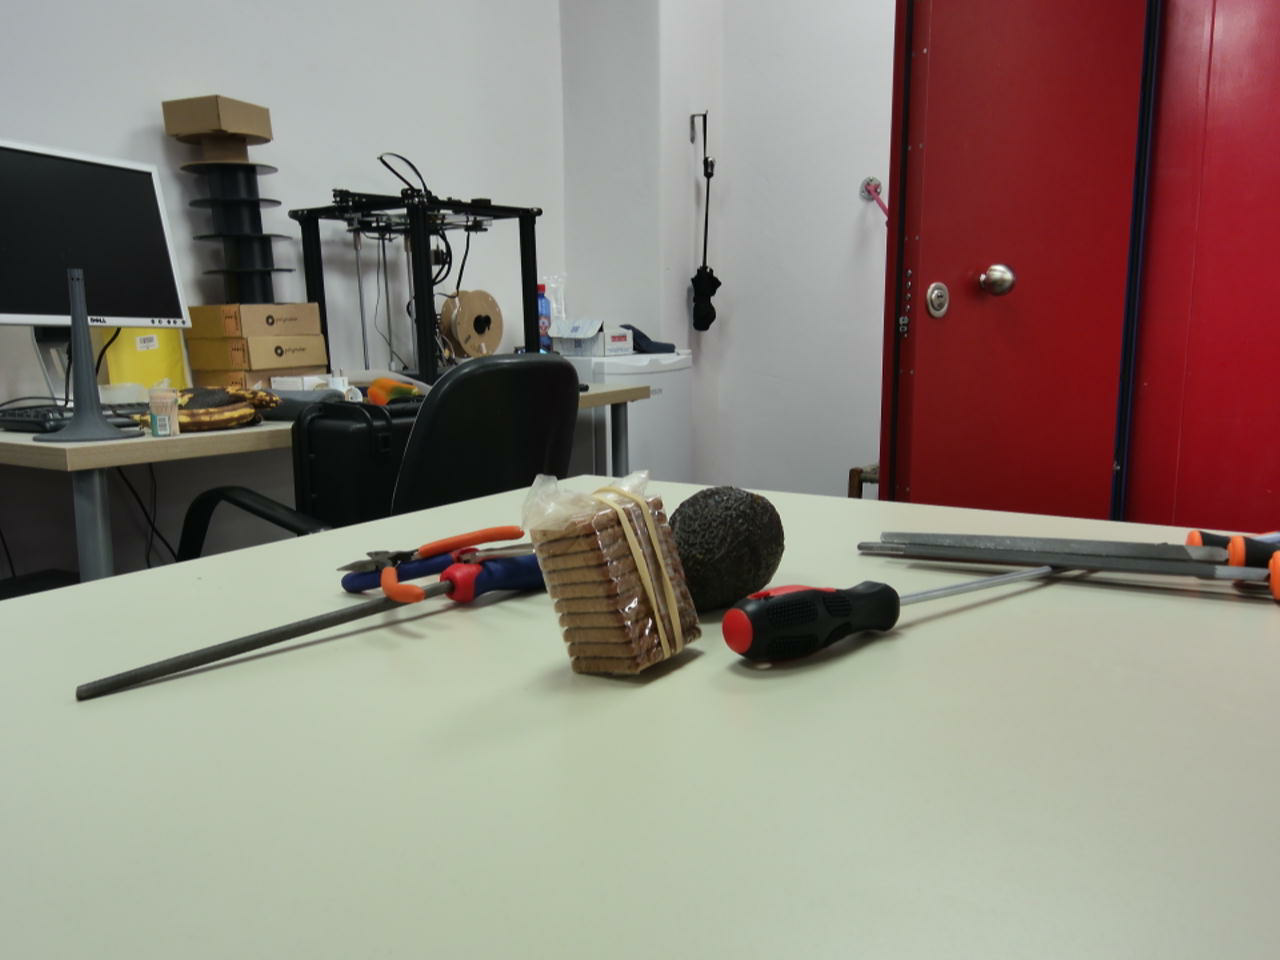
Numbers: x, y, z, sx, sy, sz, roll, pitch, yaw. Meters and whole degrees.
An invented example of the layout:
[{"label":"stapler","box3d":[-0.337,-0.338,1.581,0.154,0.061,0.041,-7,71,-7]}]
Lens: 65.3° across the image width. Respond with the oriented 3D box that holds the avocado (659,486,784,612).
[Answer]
[{"label":"avocado","box3d":[0.045,0.039,0.596,0.090,0.069,0.070,-4,8,-30]}]
